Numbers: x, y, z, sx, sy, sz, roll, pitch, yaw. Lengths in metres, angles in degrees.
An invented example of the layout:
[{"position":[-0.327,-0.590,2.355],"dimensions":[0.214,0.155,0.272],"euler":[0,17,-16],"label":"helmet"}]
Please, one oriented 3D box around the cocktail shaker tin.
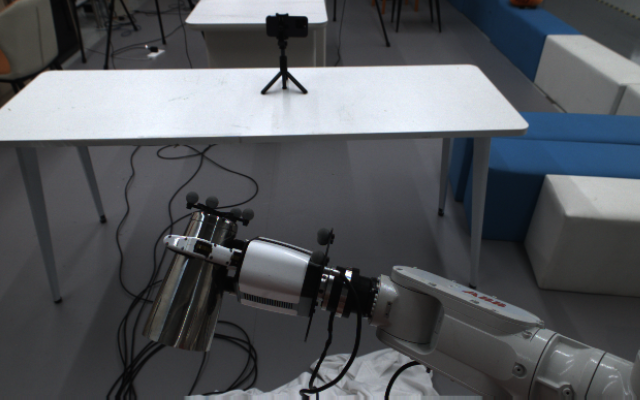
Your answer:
[{"position":[-0.164,0.105,0.655],"dimensions":[0.093,0.093,0.170],"euler":[13,80,15],"label":"cocktail shaker tin"}]
